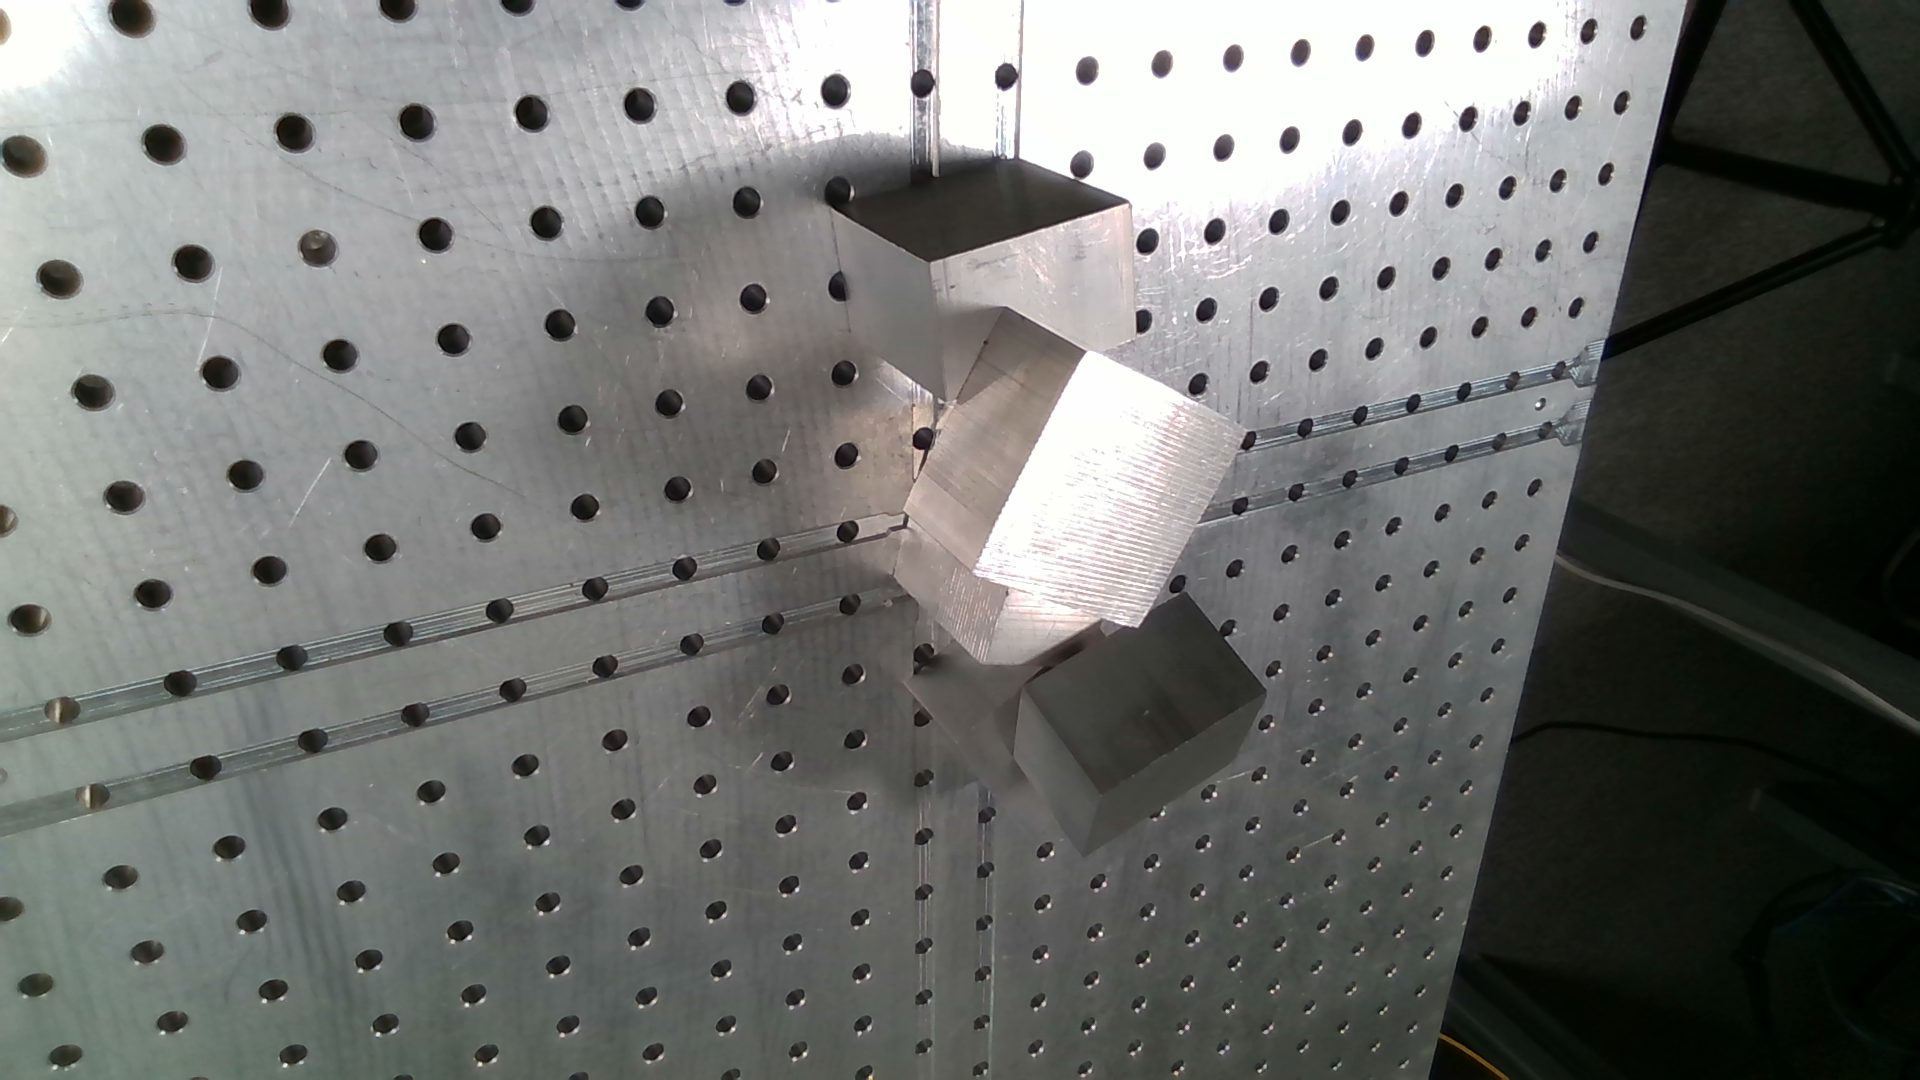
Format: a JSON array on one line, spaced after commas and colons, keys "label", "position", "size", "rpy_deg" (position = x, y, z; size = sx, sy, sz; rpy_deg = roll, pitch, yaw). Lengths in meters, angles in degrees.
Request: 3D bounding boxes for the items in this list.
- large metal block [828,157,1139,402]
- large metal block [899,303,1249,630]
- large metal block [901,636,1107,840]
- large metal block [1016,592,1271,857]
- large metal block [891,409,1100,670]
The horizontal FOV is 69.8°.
[{"label": "large metal block", "position": [0.008, -0.097, 0.500], "size": [0.080, 0.080, 0.050], "rpy_deg": [-20, 124, -21]}, {"label": "large metal block", "position": [0.039, -0.024, 0.474], "size": [0.080, 0.050, 0.080], "rpy_deg": [19, 103, -37]}, {"label": "large metal block", "position": [0.033, 0.075, 0.629], "size": [0.080, 0.050, 0.080], "rpy_deg": [-40, 129, -7]}, {"label": "large metal block", "position": [0.072, 0.077, 0.565], "size": [0.080, 0.050, 0.080], "rpy_deg": [-29, 155, -16]}, {"label": "large metal block", "position": [0.021, -0.002, 0.559], "size": [0.050, 0.080, 0.080], "rpy_deg": [5, 112, -33]}]
